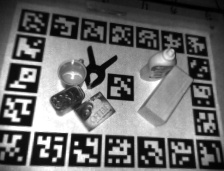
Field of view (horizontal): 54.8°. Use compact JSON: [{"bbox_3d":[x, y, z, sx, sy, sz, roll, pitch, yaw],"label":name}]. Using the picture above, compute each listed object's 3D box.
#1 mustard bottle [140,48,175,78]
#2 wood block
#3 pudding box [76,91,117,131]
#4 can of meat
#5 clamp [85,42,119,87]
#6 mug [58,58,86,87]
[{"bbox_3d":[0.172,-0.084,0.763,0.097,0.191,0.058,-1,73,-11],"label":"mustard bottle"},{"bbox_3d":[0.200,0.035,0.790,0.090,0.091,0.207,39,67,5],"label":"wood block"},{"bbox_3d":[-0.052,0.086,0.741,0.114,0.038,0.090,-36,83,-22],"label":"pudding box"},{"bbox_3d":[-0.143,0.050,0.703,0.102,0.083,0.057,-26,80,-19],"label":"can of meat"},{"bbox_3d":[-0.054,-0.072,0.798,0.122,0.036,0.165,23,71,-6],"label":"clamp"},{"bbox_3d":[-0.135,-0.042,0.765,0.093,0.081,0.117,26,70,-3],"label":"mug"}]
